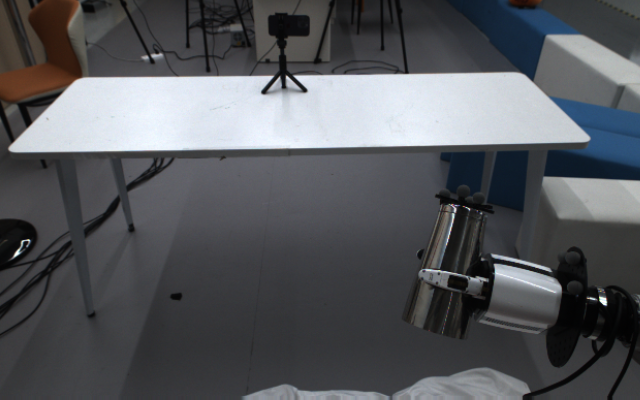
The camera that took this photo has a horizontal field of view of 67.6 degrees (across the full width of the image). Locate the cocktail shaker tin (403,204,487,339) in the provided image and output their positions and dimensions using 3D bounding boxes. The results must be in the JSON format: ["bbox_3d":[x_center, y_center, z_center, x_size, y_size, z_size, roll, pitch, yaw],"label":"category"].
[{"bbox_3d":[0.181,0.095,0.675,0.093,0.170,0.093,16,-4,1],"label":"cocktail shaker tin"}]
